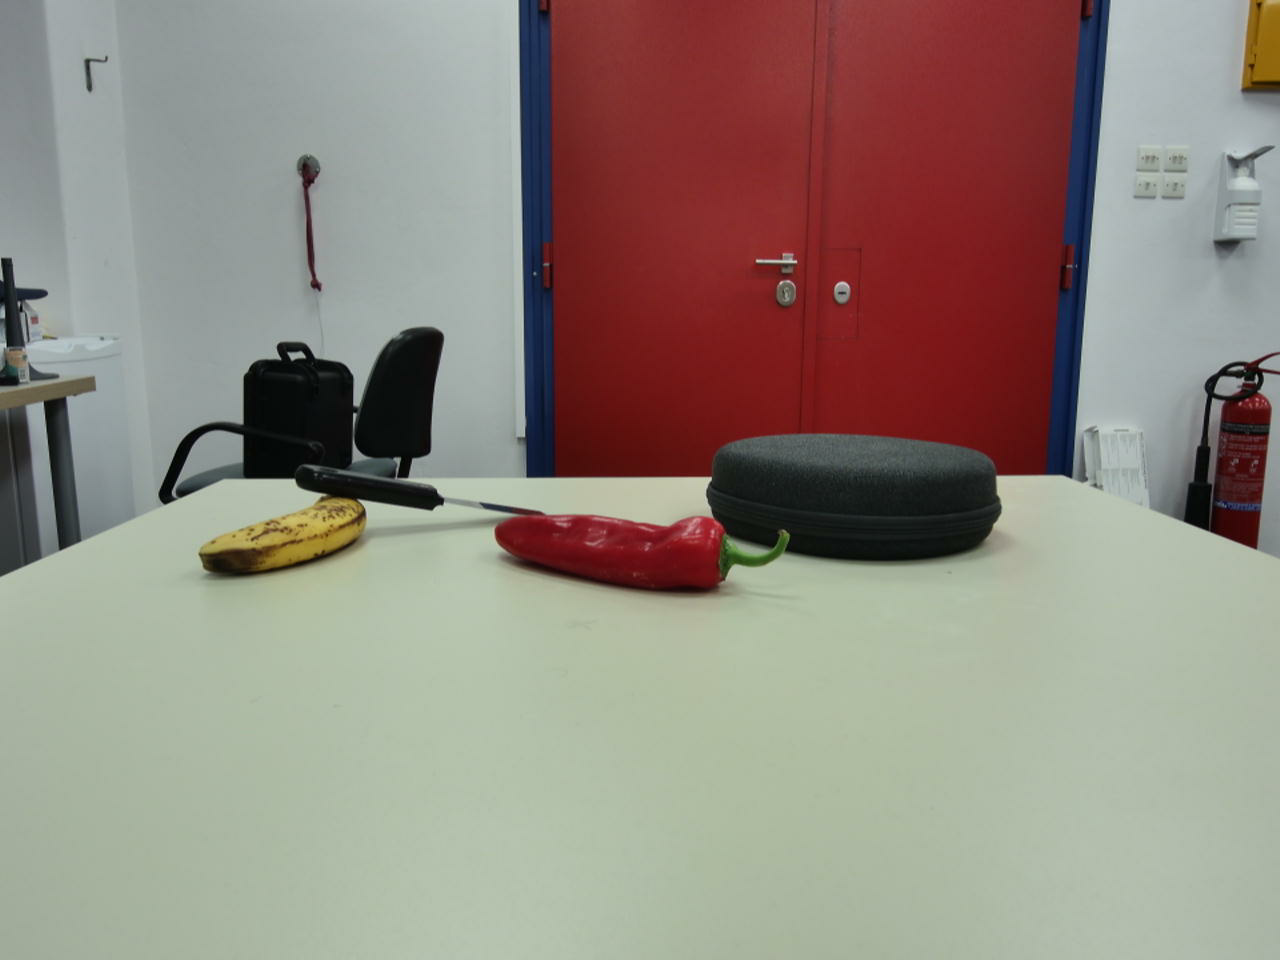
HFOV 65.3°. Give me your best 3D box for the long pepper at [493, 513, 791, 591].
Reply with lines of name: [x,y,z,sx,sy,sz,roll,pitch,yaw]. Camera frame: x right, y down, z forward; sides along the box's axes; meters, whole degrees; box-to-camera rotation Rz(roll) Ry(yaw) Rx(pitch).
long pepper: [-0.010,0.040,0.613,0.211,0.043,0.050,4,9,31]
